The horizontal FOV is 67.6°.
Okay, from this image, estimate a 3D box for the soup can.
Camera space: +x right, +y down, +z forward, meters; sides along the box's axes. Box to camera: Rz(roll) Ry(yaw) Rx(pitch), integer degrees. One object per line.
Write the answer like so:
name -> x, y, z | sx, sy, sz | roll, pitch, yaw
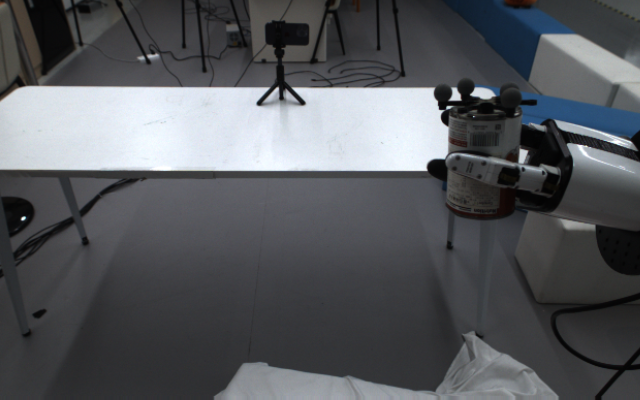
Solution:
soup can -> 0.163, -0.041, 0.480 | 0.067, 0.101, 0.067 | -4, 21, 2
